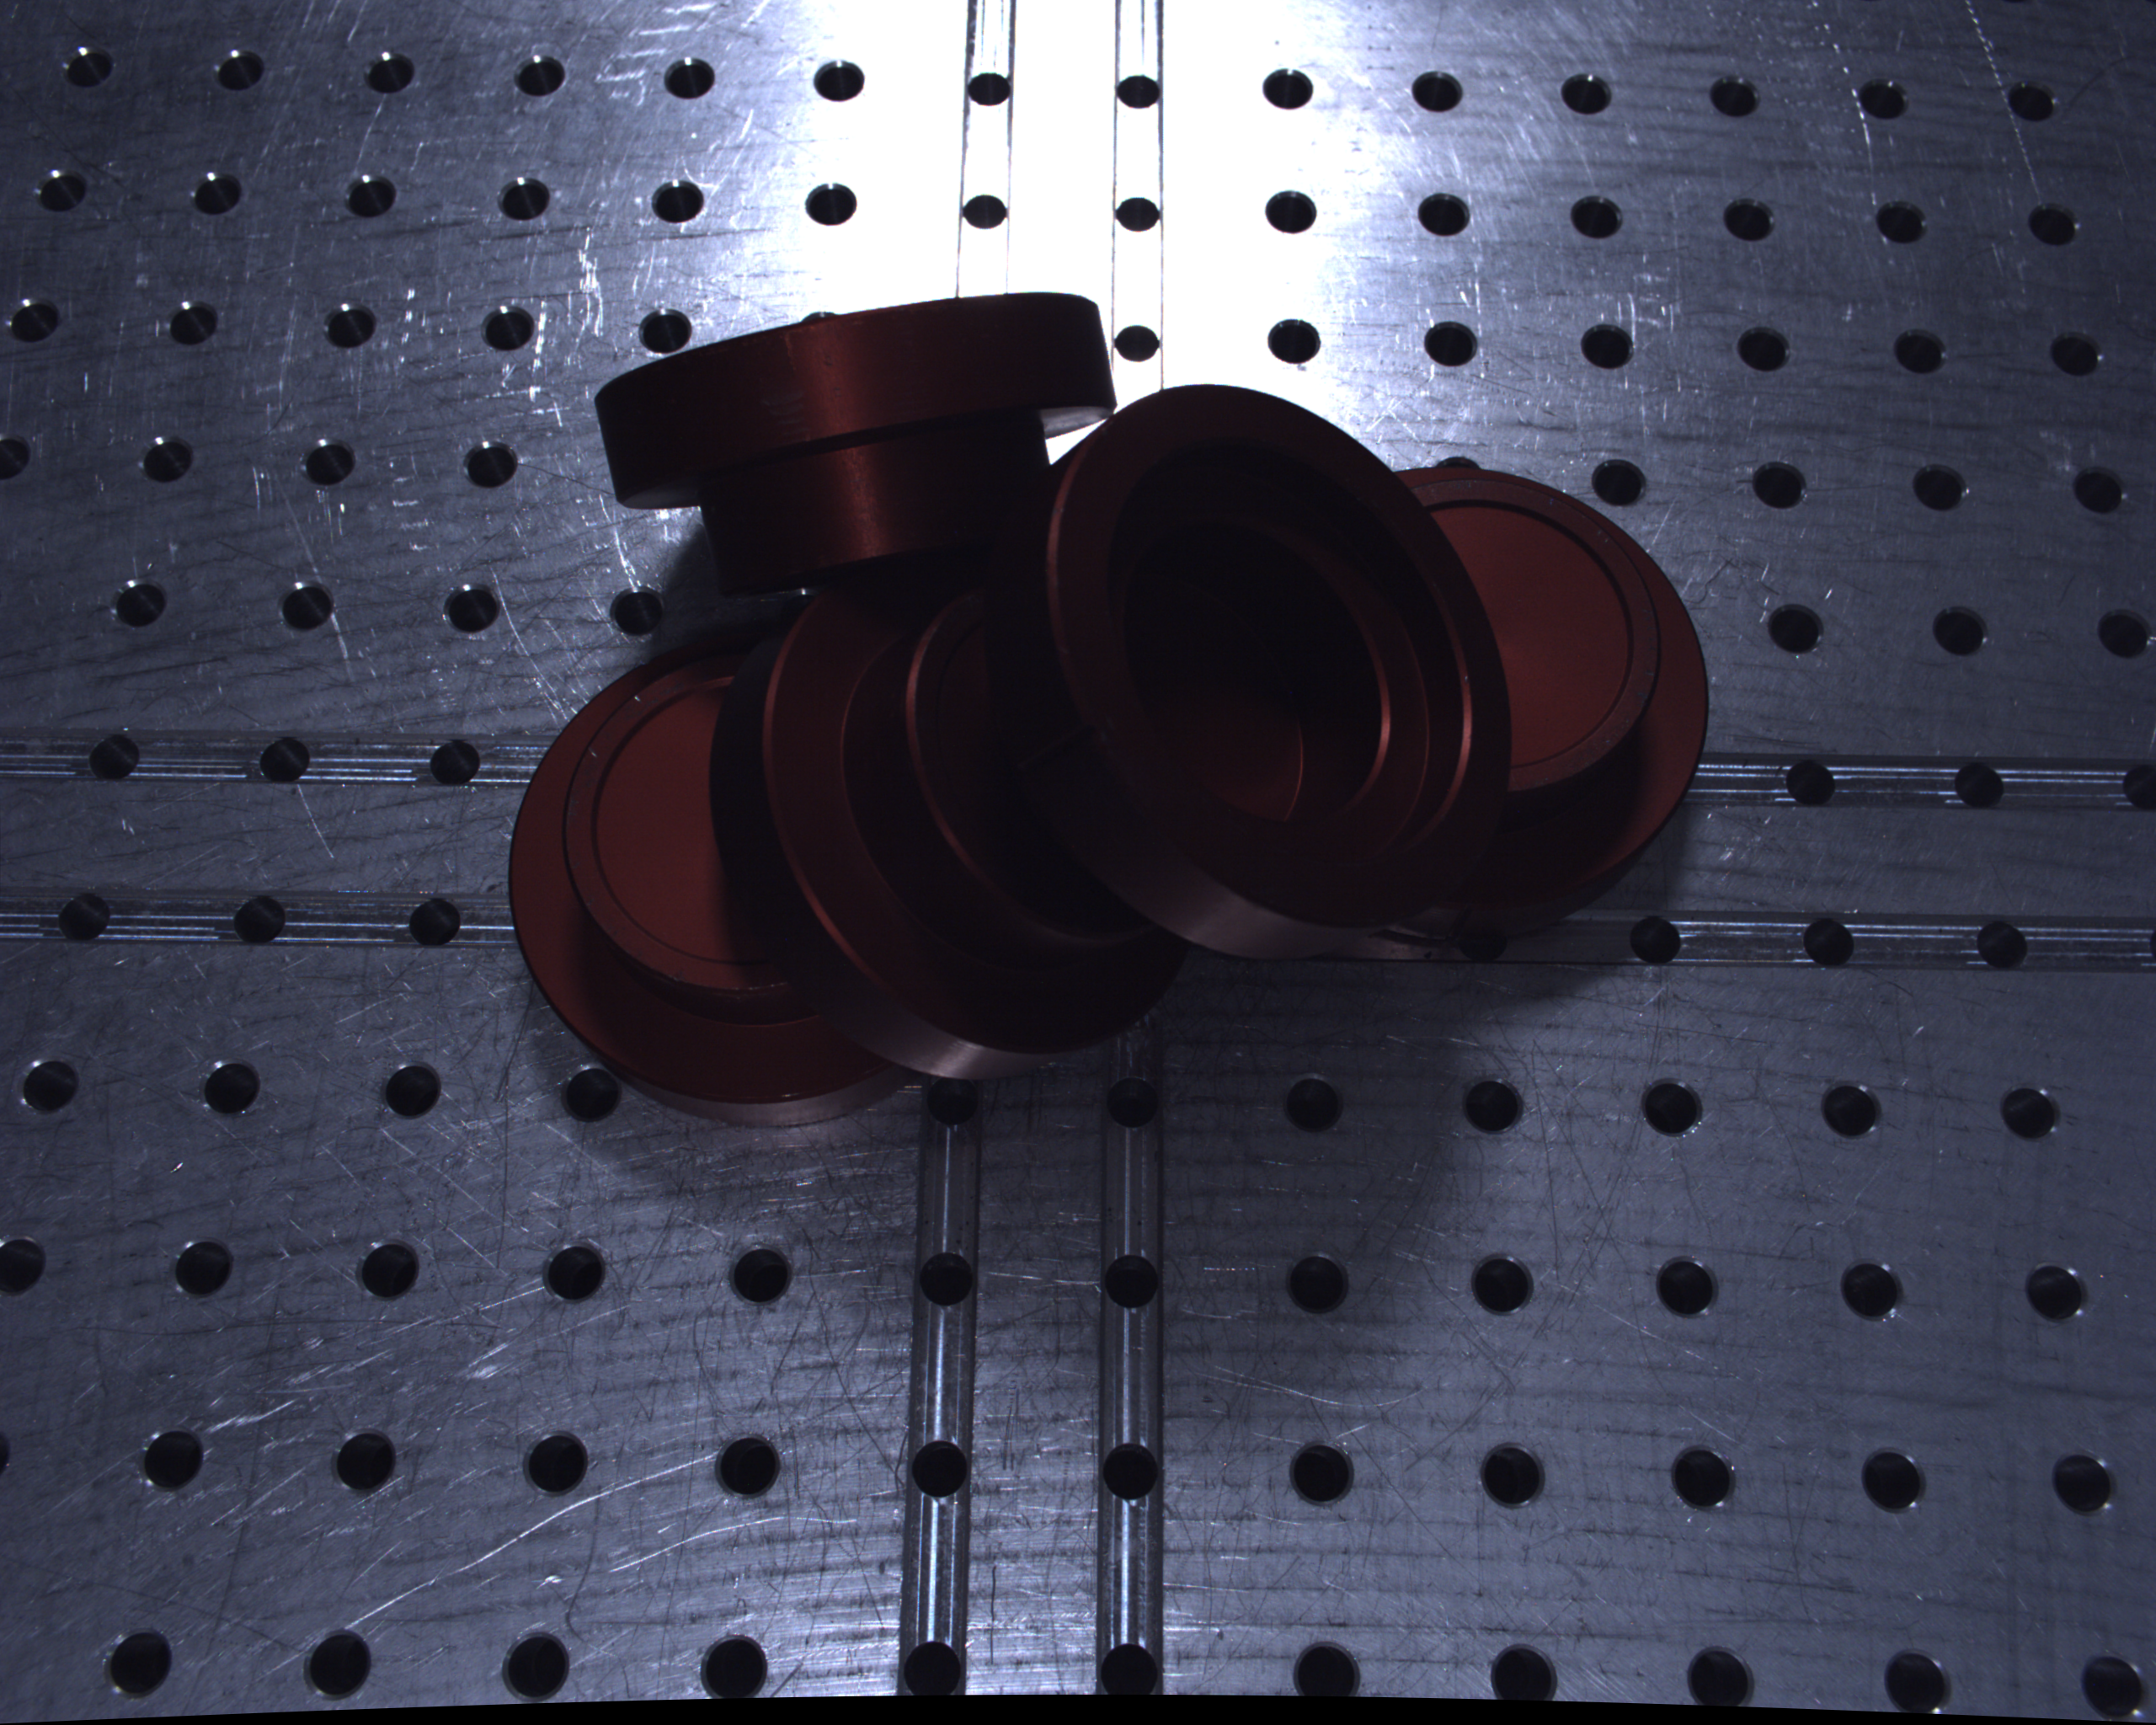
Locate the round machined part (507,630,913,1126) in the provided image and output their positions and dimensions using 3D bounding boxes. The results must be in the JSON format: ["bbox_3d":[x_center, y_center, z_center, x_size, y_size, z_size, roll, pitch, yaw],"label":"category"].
[{"bbox_3d":[-0.061,-0.001,0.402,0.099,0.042,0.098,0,70,-1],"label":"round machined part"}]

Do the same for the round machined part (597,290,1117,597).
[{"bbox_3d":[-0.040,-0.078,0.406,0.099,0.098,0.042,-12,96,-5],"label":"round machined part"}]

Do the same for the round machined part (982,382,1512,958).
[{"bbox_3d":[0.025,-0.030,0.363,0.099,0.042,0.098,14,65,-31],"label":"round machined part"}]

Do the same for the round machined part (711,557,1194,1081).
[{"bbox_3d":[-0.013,-0.012,0.382,0.099,0.042,0.098,17,61,-33],"label":"round machined part"}]

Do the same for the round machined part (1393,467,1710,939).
[{"bbox_3d":[0.077,-0.037,0.417,0.099,0.042,0.098,0,70,-1],"label":"round machined part"}]
